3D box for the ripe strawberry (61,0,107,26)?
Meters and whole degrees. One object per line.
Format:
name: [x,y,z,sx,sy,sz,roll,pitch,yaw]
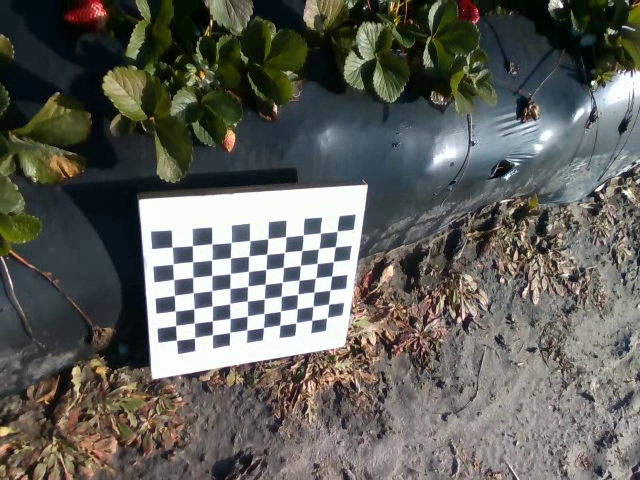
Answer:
ripe strawberry: [-0.243,-0.234,0.624,0.055,0.042,0.044,-25,42,-33]
